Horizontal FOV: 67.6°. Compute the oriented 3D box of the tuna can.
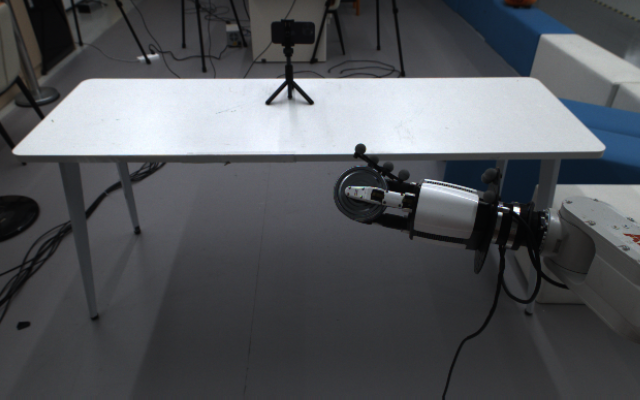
[{"bbox_3d":[0.068,-0.003,0.746,0.085,0.085,0.034,13,-4,15],"label":"tuna can"}]
